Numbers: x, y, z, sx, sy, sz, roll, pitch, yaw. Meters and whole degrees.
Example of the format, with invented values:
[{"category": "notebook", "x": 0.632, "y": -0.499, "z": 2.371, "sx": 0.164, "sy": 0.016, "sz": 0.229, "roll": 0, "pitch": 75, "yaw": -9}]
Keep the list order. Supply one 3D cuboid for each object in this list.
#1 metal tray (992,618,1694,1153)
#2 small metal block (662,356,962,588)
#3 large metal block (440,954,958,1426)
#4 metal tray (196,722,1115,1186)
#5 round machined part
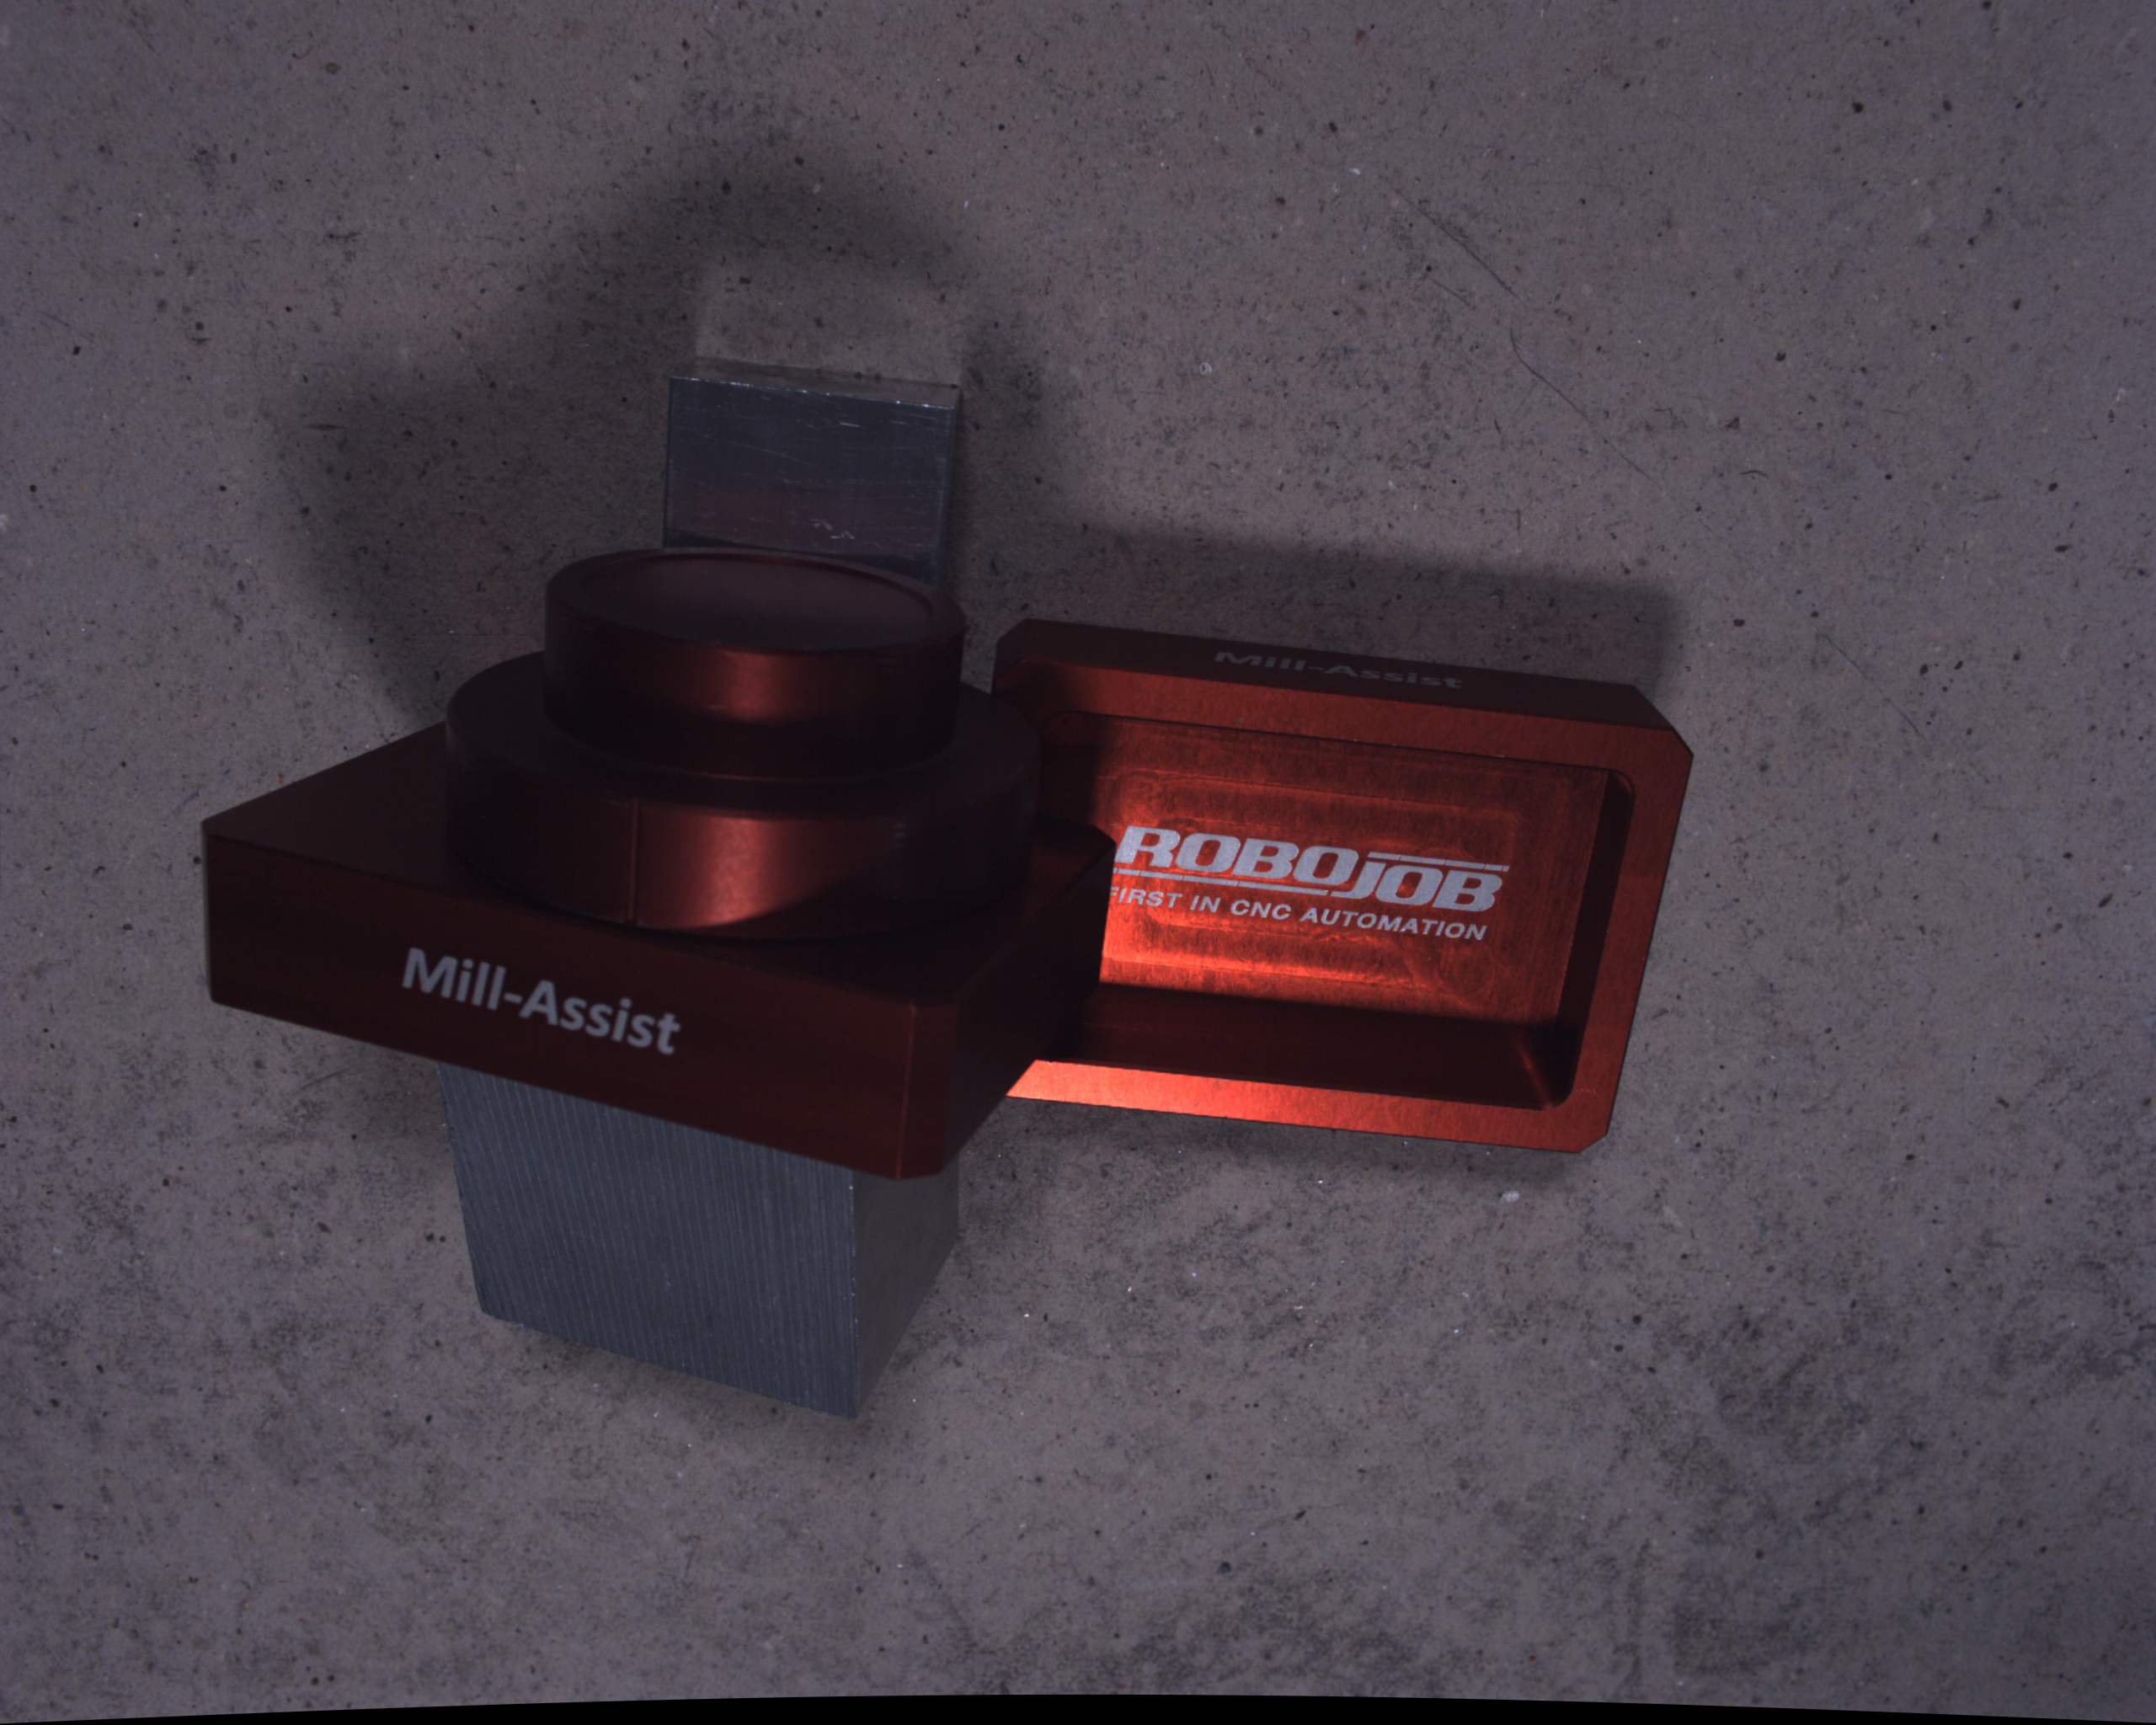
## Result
[{"category": "metal tray", "x": 0.045, "y": 0.005, "z": 0.411, "sx": 0.131, "sy": 0.030, "sz": 0.089, "roll": 6, "pitch": 110, "yaw": -3}, {"category": "small metal block", "x": -0.049, "y": -0.064, "z": 0.387, "sx": 0.050, "sy": 0.025, "sz": 0.050, "roll": 6, "pitch": 110, "yaw": -3}, {"category": "large metal block", "x": -0.069, "y": 0.051, "z": 0.395, "sx": 0.080, "sy": 0.050, "sz": 0.079, "roll": 12, "pitch": 124, "yaw": 14}, {"category": "metal tray", "x": -0.069, "y": 0.008, "z": 0.360, "sx": 0.131, "sy": 0.090, "sz": 0.030, "roll": 13, "pitch": 111, "yaw": 14}, {"category": "round machined part", "x": -0.055, "y": -0.024, "z": 0.351, "sx": 0.099, "sy": 0.098, "sz": 0.042, "roll": 6, "pitch": 110, "yaw": -3}]
